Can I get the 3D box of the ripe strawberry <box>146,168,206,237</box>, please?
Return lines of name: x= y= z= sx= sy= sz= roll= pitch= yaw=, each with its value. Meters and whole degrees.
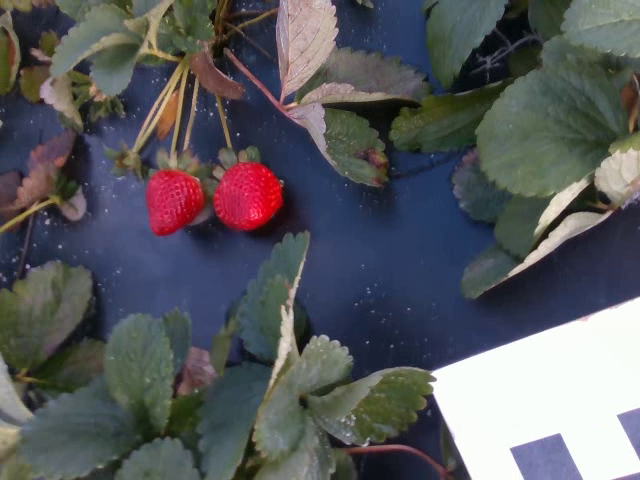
ripe strawberry: x=-0.108 y=-0.025 z=0.436 sx=0.048 sy=0.056 sz=0.041 roll=-10 pitch=-35 yaw=21

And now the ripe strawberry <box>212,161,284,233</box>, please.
ripe strawberry: x=-0.052 y=-0.027 z=0.406 sx=0.051 sy=0.057 sz=0.064 roll=39 pitch=12 yaw=-36
